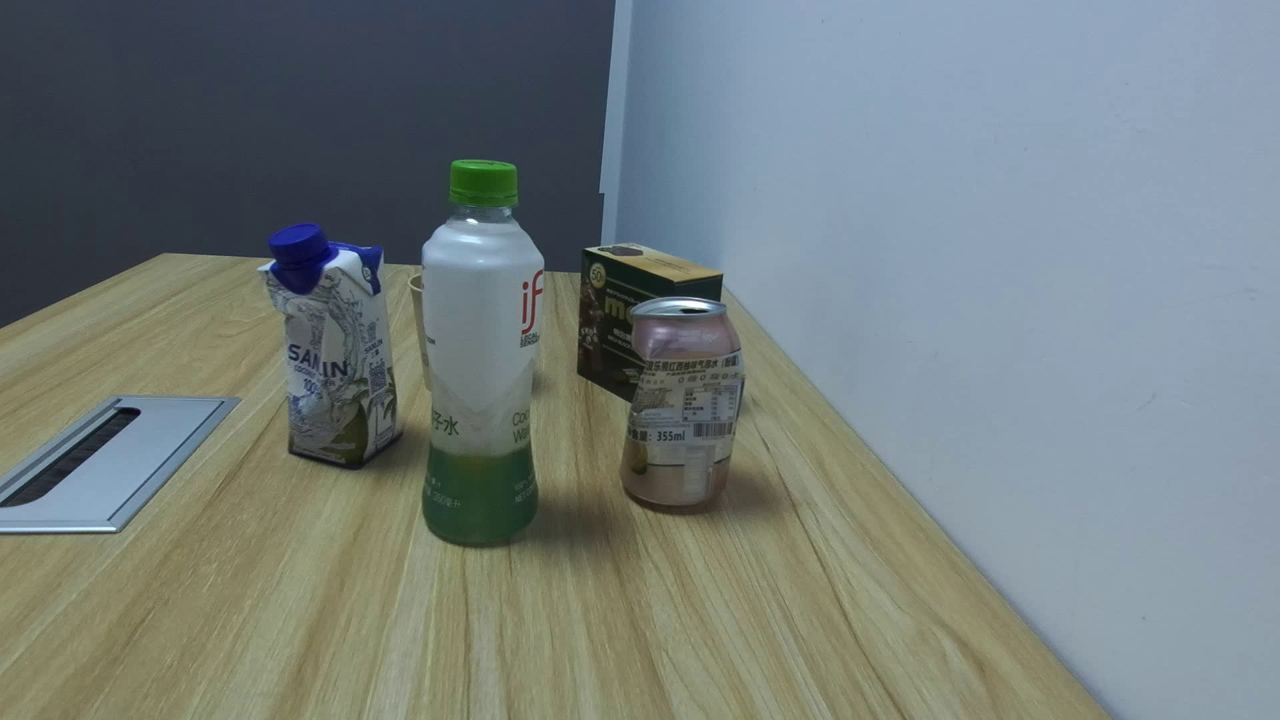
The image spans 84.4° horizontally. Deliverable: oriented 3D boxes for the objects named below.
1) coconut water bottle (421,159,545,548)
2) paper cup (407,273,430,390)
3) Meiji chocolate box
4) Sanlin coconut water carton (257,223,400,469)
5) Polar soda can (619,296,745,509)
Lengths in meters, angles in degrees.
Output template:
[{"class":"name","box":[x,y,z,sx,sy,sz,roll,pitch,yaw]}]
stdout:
[{"class":"coconut water bottle","box":[-0.080,-0.002,0.360,0.063,0.188,0.063,4,20,-1]},{"class":"paper cup","box":[-0.132,-0.019,0.523,0.075,0.082,0.075,3,18,-1]},{"class":"Meiji chocolate box","box":[0.005,-0.025,0.546,0.056,0.109,0.109,-12,27,-39]},{"class":"Sanlin coconut water carton","box":[-0.183,-0.012,0.424,0.060,0.143,0.070,11,23,16]},{"class":"Polar soda can","box":[0.019,0.023,0.418,0.067,0.122,0.070,-8,23,-20]}]
